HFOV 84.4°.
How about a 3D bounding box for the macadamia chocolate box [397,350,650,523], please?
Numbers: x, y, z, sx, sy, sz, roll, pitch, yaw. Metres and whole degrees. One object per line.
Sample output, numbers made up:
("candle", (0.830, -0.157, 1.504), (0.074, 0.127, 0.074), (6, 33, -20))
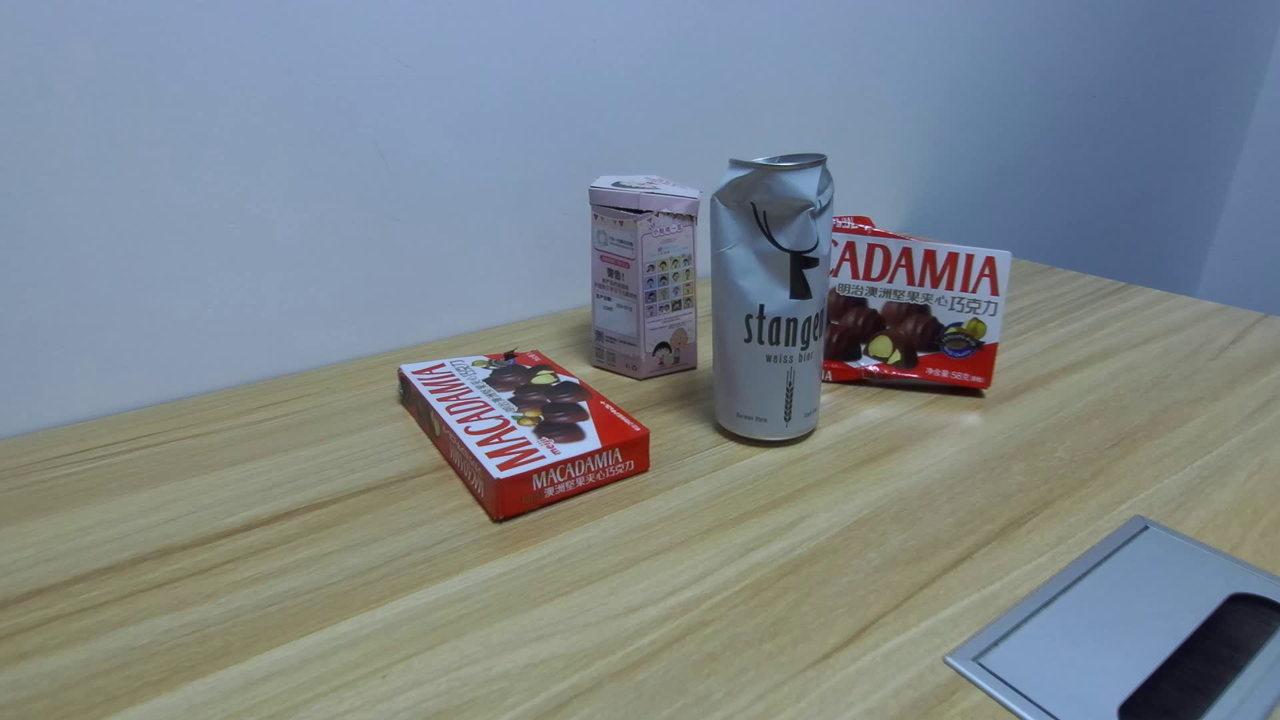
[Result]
("macadamia chocolate box", (-0.081, 0.031, 0.450), (0.103, 0.027, 0.186), (-14, 27, -30))

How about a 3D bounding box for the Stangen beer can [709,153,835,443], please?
("Stangen beer can", (0.077, -0.034, 0.417), (0.065, 0.166, 0.066), (8, 24, 22))

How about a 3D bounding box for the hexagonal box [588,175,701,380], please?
("hexagonal box", (0.004, -0.062, 0.519), (0.091, 0.135, 0.085), (16, 29, 35))

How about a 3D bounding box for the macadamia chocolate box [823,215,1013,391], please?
("macadamia chocolate box", (0.185, -0.040, 0.492), (0.126, 0.112, 0.056), (6, 23, 15))
